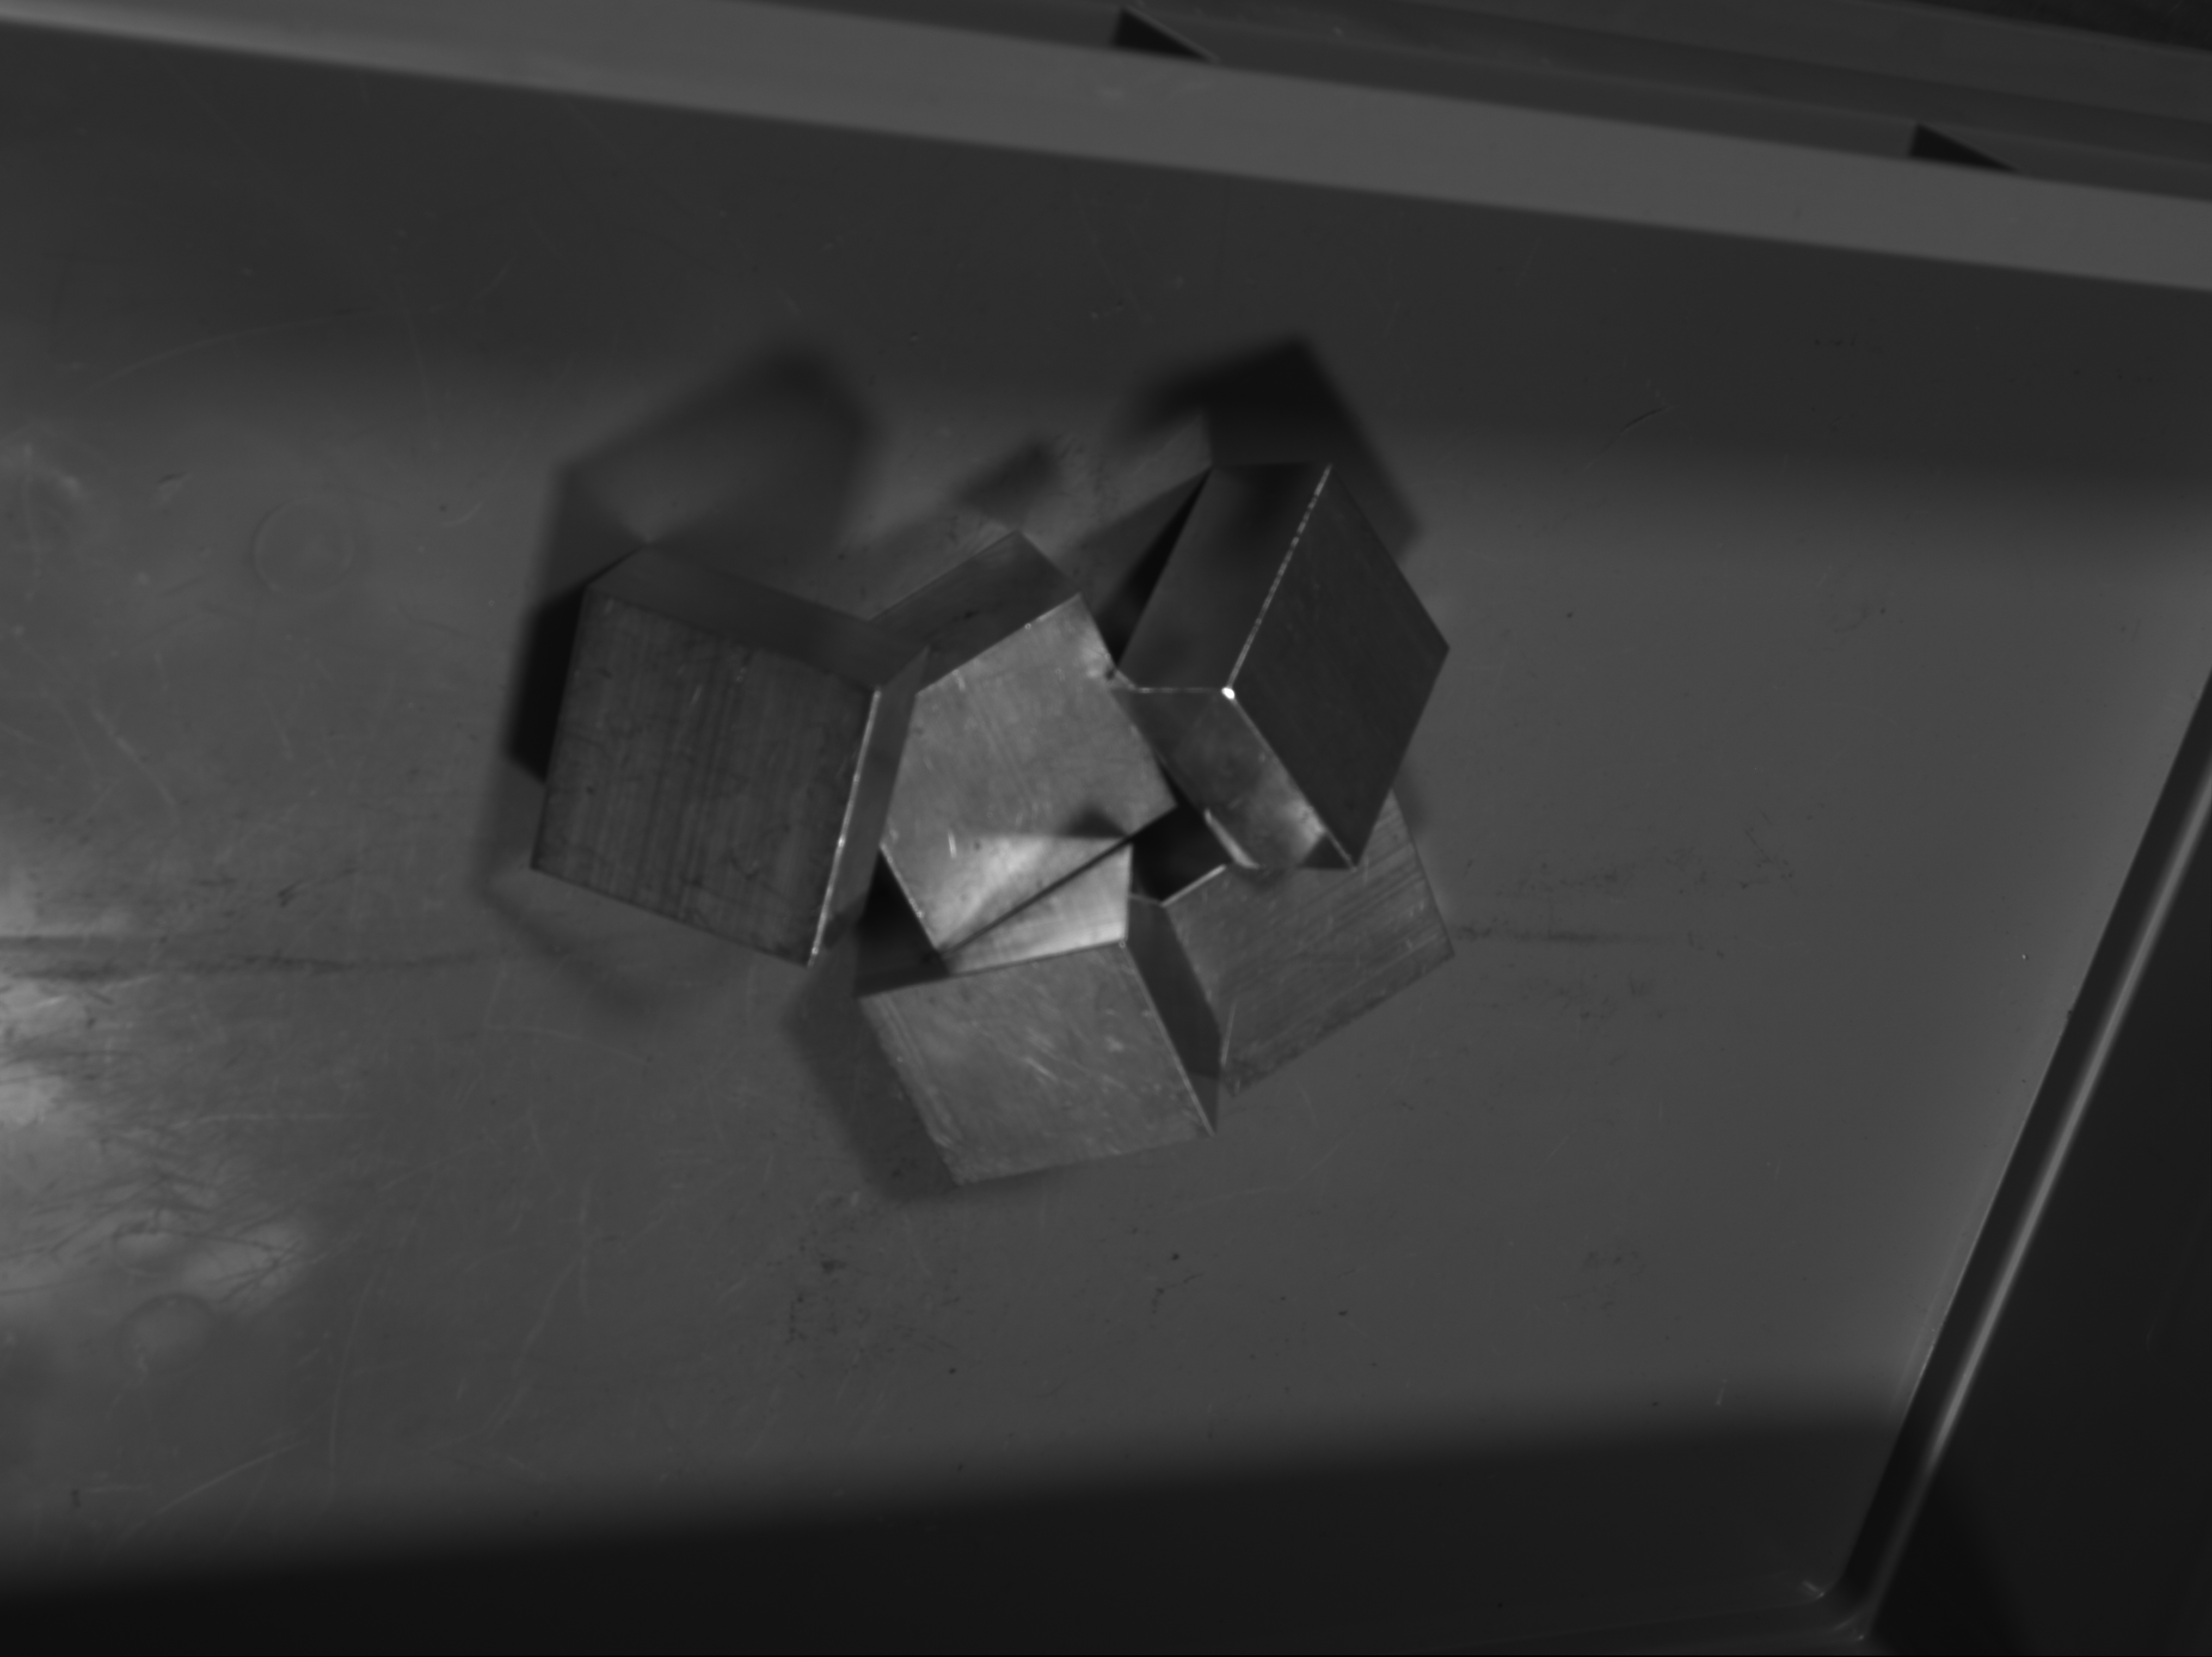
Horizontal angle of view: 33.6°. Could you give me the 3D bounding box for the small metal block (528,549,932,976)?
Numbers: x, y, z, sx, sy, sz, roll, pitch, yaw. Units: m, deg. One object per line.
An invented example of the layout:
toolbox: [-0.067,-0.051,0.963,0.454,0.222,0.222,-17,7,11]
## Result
small metal block: [-0.061,-0.011,0.589,0.050,0.025,0.050,19,114,9]

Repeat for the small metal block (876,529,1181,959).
small metal block: [-0.022,-0.014,0.628,0.050,0.025,0.050,-33,130,-9]

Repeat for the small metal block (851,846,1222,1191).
small metal block: [-0.011,0.034,0.649,0.050,0.025,0.050,-12,130,15]

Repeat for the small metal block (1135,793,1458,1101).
small metal block: [0.032,0.014,0.676,0.050,0.025,0.050,-32,129,-10]

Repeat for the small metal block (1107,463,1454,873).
small metal block: [0.031,-0.027,0.635,0.050,0.025,0.050,52,52,-40]
